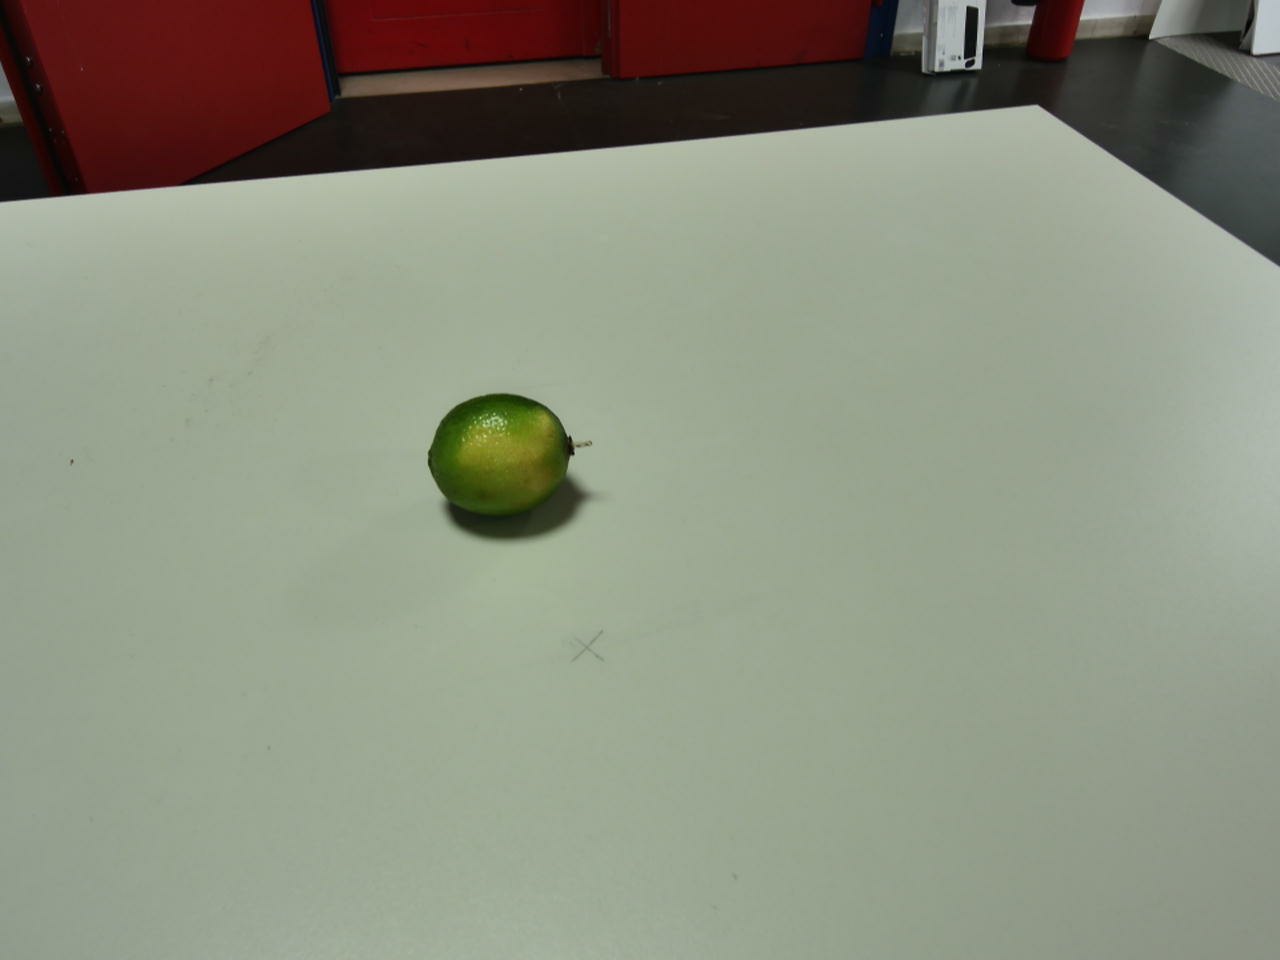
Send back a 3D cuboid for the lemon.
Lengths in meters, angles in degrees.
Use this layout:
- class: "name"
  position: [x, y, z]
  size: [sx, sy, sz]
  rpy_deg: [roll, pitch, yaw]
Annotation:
- class: "lemon"
  position: [-0.059, -0.010, 0.421]
  size: [0.055, 0.050, 0.054]
  rpy_deg: [26, 44, 28]
